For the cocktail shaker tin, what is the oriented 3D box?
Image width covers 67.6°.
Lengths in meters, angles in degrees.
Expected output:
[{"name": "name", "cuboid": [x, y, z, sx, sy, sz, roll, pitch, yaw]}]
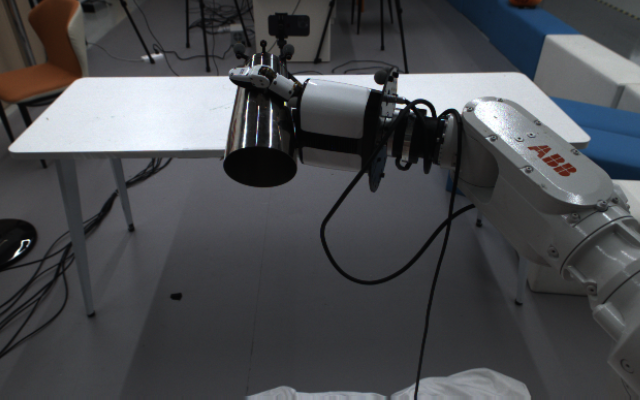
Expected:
[{"name": "cocktail shaker tin", "cuboid": [-0.078, -0.113, 0.643, 0.093, 0.093, 0.170, 0, 59, -3]}]
